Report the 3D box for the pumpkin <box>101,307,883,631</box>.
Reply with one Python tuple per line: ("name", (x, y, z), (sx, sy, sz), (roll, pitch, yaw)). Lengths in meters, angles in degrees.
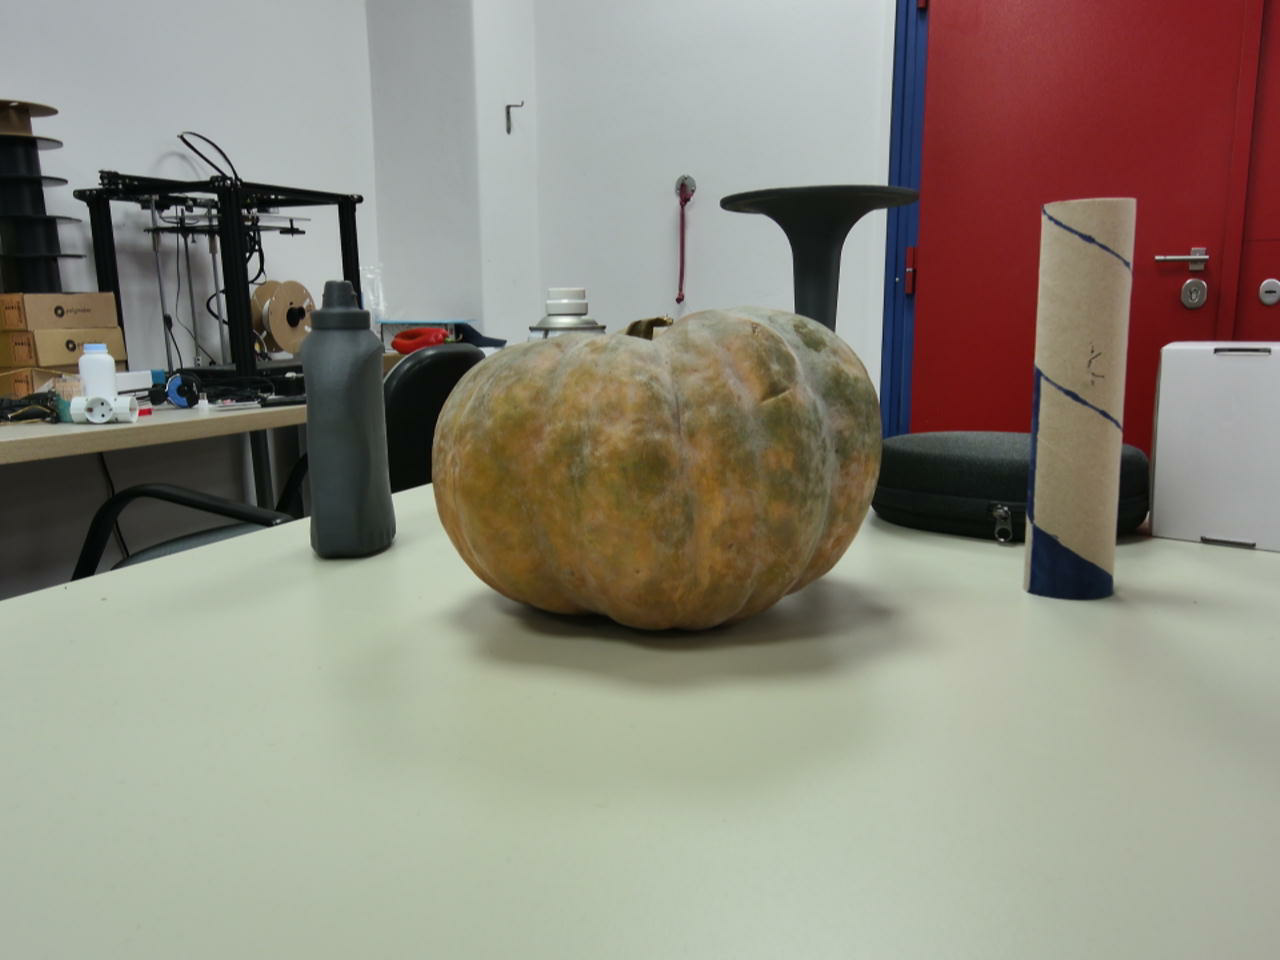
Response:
("pumpkin", (0.005, -0.010, 0.563), (0.252, 0.168, 0.252), (0, 7, 0))
